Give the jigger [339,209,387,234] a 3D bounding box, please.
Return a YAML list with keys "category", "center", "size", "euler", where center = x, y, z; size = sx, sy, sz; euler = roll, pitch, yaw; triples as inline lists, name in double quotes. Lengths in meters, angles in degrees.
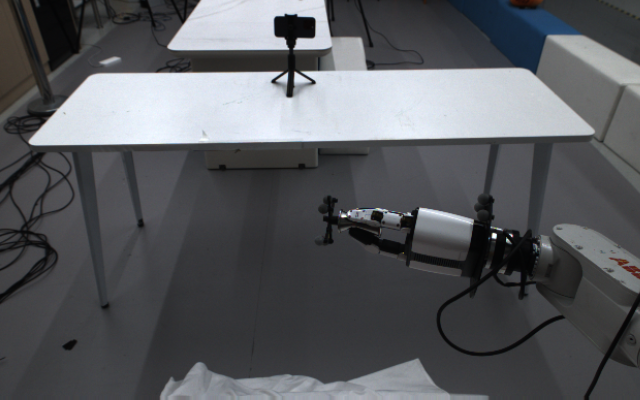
- category: "jigger"
  center: [0.072, 0.032, 0.784]
  size: [0.071, 0.043, 0.043]
  euler: [4, 34, 12]
